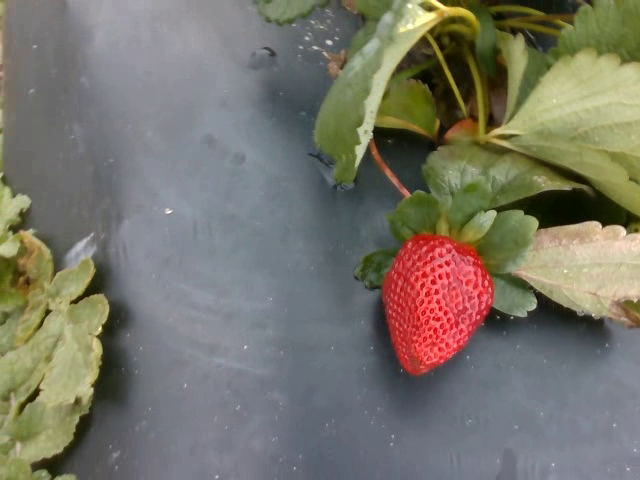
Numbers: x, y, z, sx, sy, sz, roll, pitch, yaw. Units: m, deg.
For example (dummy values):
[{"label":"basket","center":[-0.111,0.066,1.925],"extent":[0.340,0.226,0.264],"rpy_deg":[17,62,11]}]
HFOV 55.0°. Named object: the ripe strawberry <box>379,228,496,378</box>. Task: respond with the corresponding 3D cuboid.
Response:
[{"label":"ripe strawberry","center":[0.039,0.025,0.225],"extent":[0.046,0.049,0.064],"rpy_deg":[-33,19,43]}]
